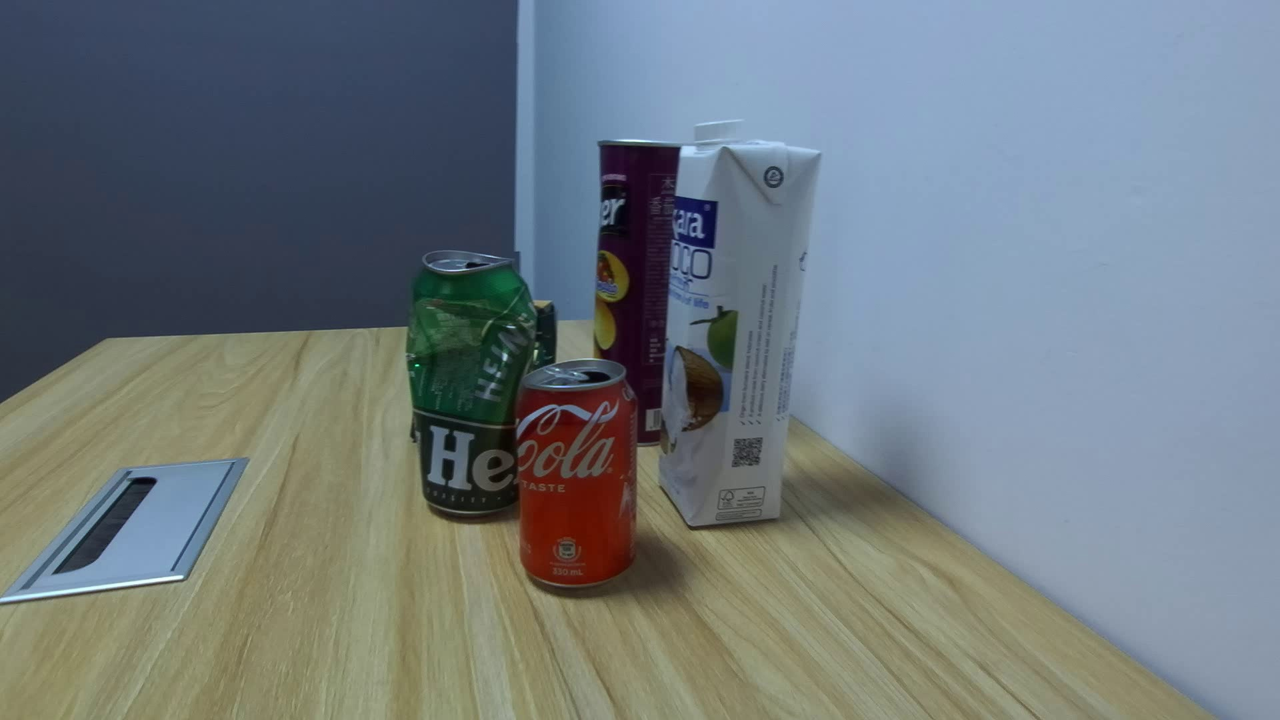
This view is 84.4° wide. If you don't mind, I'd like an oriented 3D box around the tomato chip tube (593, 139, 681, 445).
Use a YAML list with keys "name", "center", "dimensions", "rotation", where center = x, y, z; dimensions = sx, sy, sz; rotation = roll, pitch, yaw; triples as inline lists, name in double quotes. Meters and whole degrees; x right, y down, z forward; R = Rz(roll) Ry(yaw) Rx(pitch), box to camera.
- name: "tomato chip tube"
  center: [0.001, -0.053, 0.565]
  dimensions: [0.077, 0.234, 0.080]
  rotation: [2, 17, -2]

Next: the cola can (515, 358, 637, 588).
- name: "cola can"
  center: [-0.033, 0.061, 0.385]
  dimensions: [0.065, 0.117, 0.072]
  rotation: [11, 19, 25]

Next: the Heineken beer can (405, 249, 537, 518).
- name: "Heineken beer can"
  center: [-0.109, 0.016, 0.453]
  dimensions: [0.066, 0.164, 0.077]
  rotation: [-7, 20, -27]

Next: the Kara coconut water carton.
- name: "Kara coconut water carton"
  center: [0.058, -0.021, 0.446]
  dimensions: [0.075, 0.245, 0.077]
  rotation: [-1, 16, -17]
